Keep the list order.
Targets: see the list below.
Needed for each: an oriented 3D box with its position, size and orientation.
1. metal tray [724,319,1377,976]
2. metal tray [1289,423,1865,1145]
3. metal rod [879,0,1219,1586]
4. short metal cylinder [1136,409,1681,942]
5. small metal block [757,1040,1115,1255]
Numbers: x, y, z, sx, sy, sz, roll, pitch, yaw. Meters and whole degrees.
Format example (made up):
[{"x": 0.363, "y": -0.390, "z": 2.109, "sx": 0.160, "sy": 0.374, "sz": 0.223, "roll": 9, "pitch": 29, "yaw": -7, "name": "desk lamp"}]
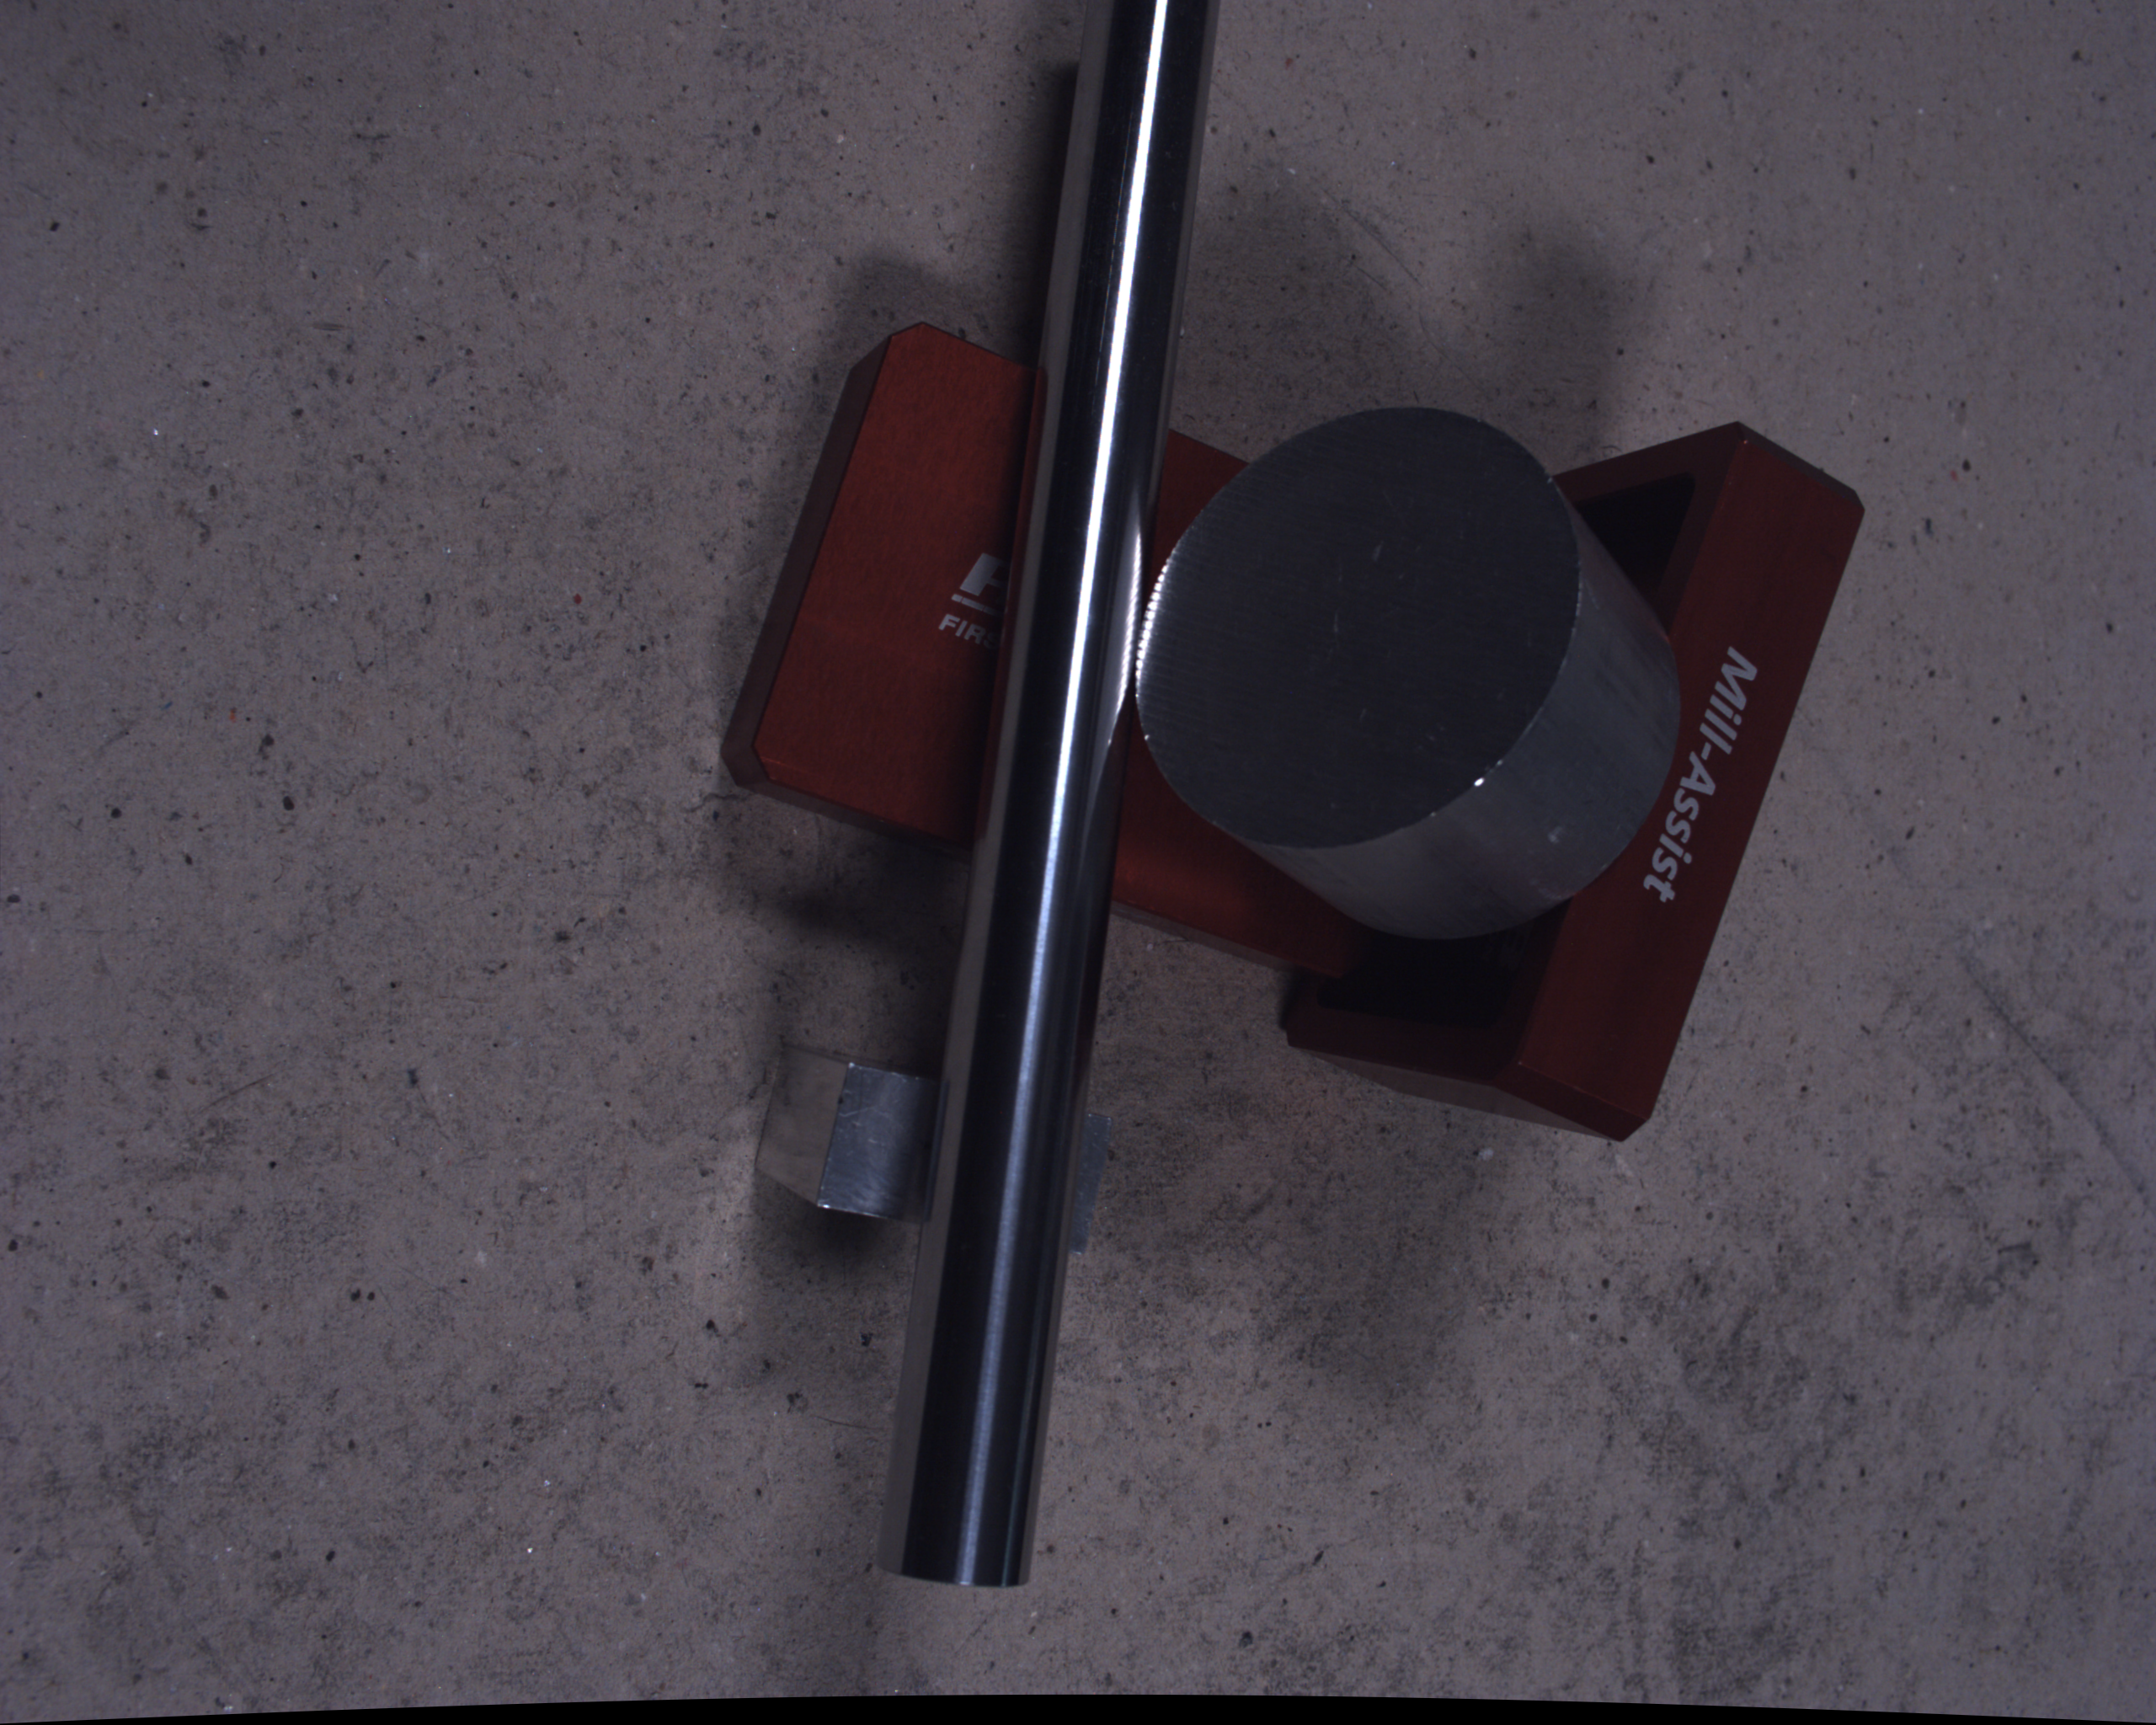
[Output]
[{"x": 0.007, "y": -0.039, "z": 0.411, "sx": 0.131, "sy": 0.030, "sz": 0.090, "roll": 19, "pitch": 83, "yaw": -20, "name": "metal tray"}, {"x": 0.095, "y": -0.015, "z": 0.412, "sx": 0.030, "sy": 0.090, "sz": 0.130, "roll": 24, "pitch": 82, "yaw": -19, "name": "metal tray"}, {"x": -0.002, "y": -0.030, "z": 0.369, "sx": 0.025, "sy": 0.025, "sz": 0.299, "roll": 12, "pitch": 77, "yaw": -20, "name": "metal rod"}, {"x": 0.058, "y": -0.031, "z": 0.364, "sx": 0.050, "sy": 0.080, "sz": 0.080, "roll": 32, "pitch": 78, "yaw": -51, "name": "short metal cylinder"}, {"x": -0.028, "y": 0.052, "z": 0.387, "sx": 0.050, "sy": 0.050, "sz": 0.025, "roll": 13, "pitch": 86, "yaw": -20, "name": "small metal block"}]
